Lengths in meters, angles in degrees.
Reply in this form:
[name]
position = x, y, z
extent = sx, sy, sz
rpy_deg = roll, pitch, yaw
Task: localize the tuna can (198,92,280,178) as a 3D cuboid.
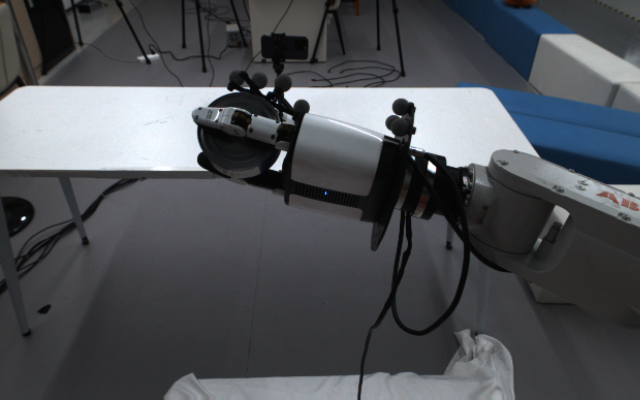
[tuna can]
position = -0.081, -0.069, 0.509
extent = 0.085, 0.034, 0.085
rpy_deg = 0, 72, 0
